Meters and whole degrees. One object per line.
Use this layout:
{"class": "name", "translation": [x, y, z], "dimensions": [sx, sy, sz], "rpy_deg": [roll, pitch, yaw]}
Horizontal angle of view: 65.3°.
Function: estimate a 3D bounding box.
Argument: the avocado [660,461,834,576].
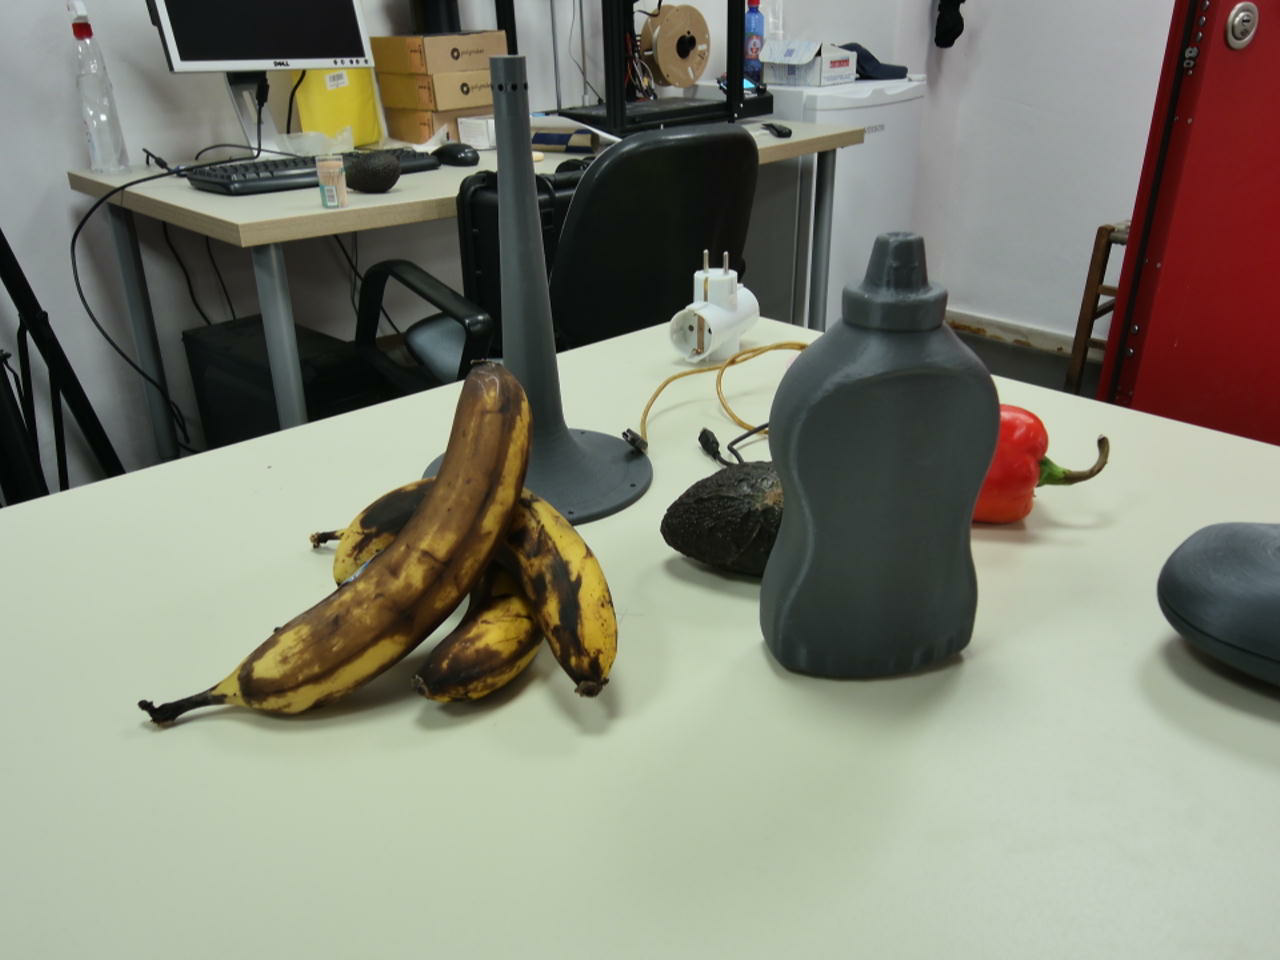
{"class": "avocado", "translation": [0.058, 0.020, 0.539], "dimensions": [0.092, 0.062, 0.062], "rpy_deg": [11, 26, 23]}
